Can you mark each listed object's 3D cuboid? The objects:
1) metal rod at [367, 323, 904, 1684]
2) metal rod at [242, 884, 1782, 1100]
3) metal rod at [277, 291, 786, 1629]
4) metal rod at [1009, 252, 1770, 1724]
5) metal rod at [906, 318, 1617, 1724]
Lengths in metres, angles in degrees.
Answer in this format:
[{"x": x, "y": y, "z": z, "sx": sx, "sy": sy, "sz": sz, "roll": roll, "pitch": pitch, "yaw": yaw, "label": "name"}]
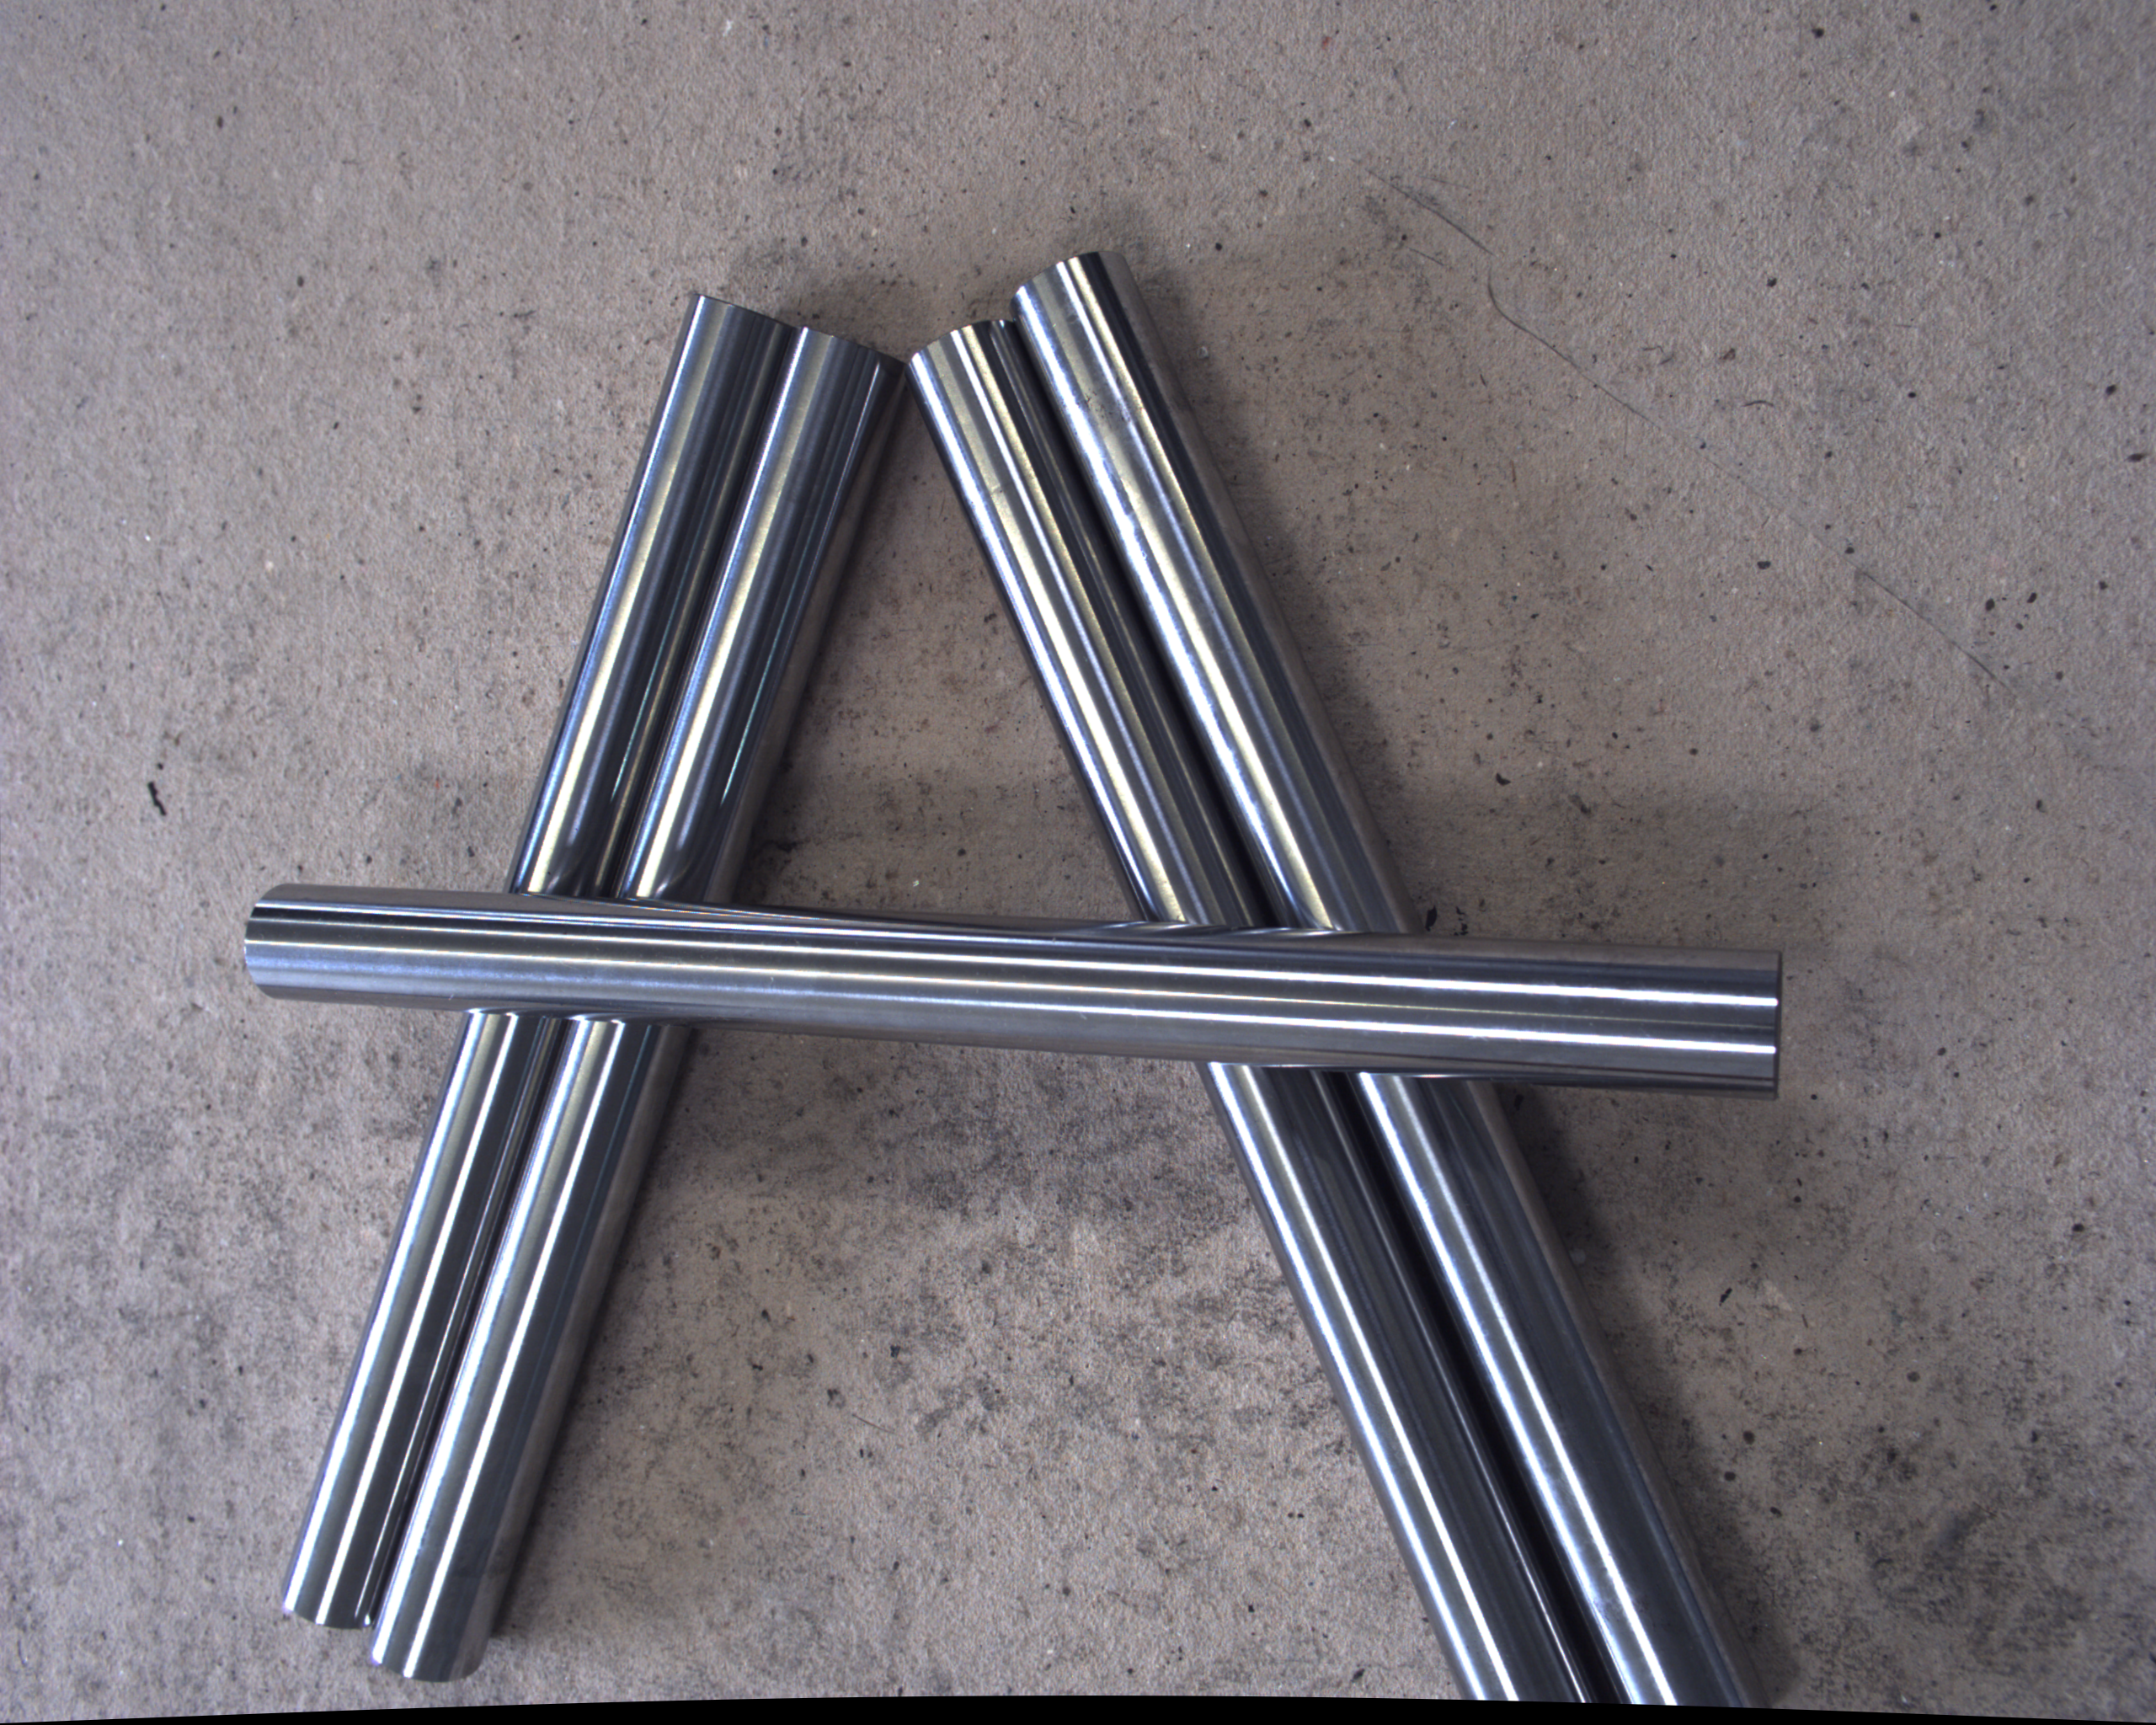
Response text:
[{"x": -0.095, "y": 0.034, "z": 0.443, "sx": 0.025, "sy": 0.025, "sz": 0.298, "roll": 21, "pitch": 97, "yaw": 18, "label": "metal rod"}, {"x": -0.027, "y": 0.022, "z": 0.393, "sx": 0.301, "sy": 0.025, "sz": 0.025, "roll": 2, "pitch": 91, "yaw": 19, "label": "metal rod"}, {"x": -0.118, "y": 0.025, "z": 0.451, "sx": 0.025, "sy": 0.025, "sz": 0.298, "roll": 22, "pitch": 97, "yaw": 18, "label": "metal rod"}, {"x": 0.055, "y": 0.023, "z": 0.391, "sx": 0.025, "sy": 0.025, "sz": 0.299, "roll": -25, "pitch": 82, "yaw": 18, "label": "metal rod"}, {"x": 0.034, "y": 0.034, "z": 0.399, "sx": 0.025, "sy": 0.025, "sz": 0.299, "roll": -25, "pitch": 82, "yaw": 18, "label": "metal rod"}]
